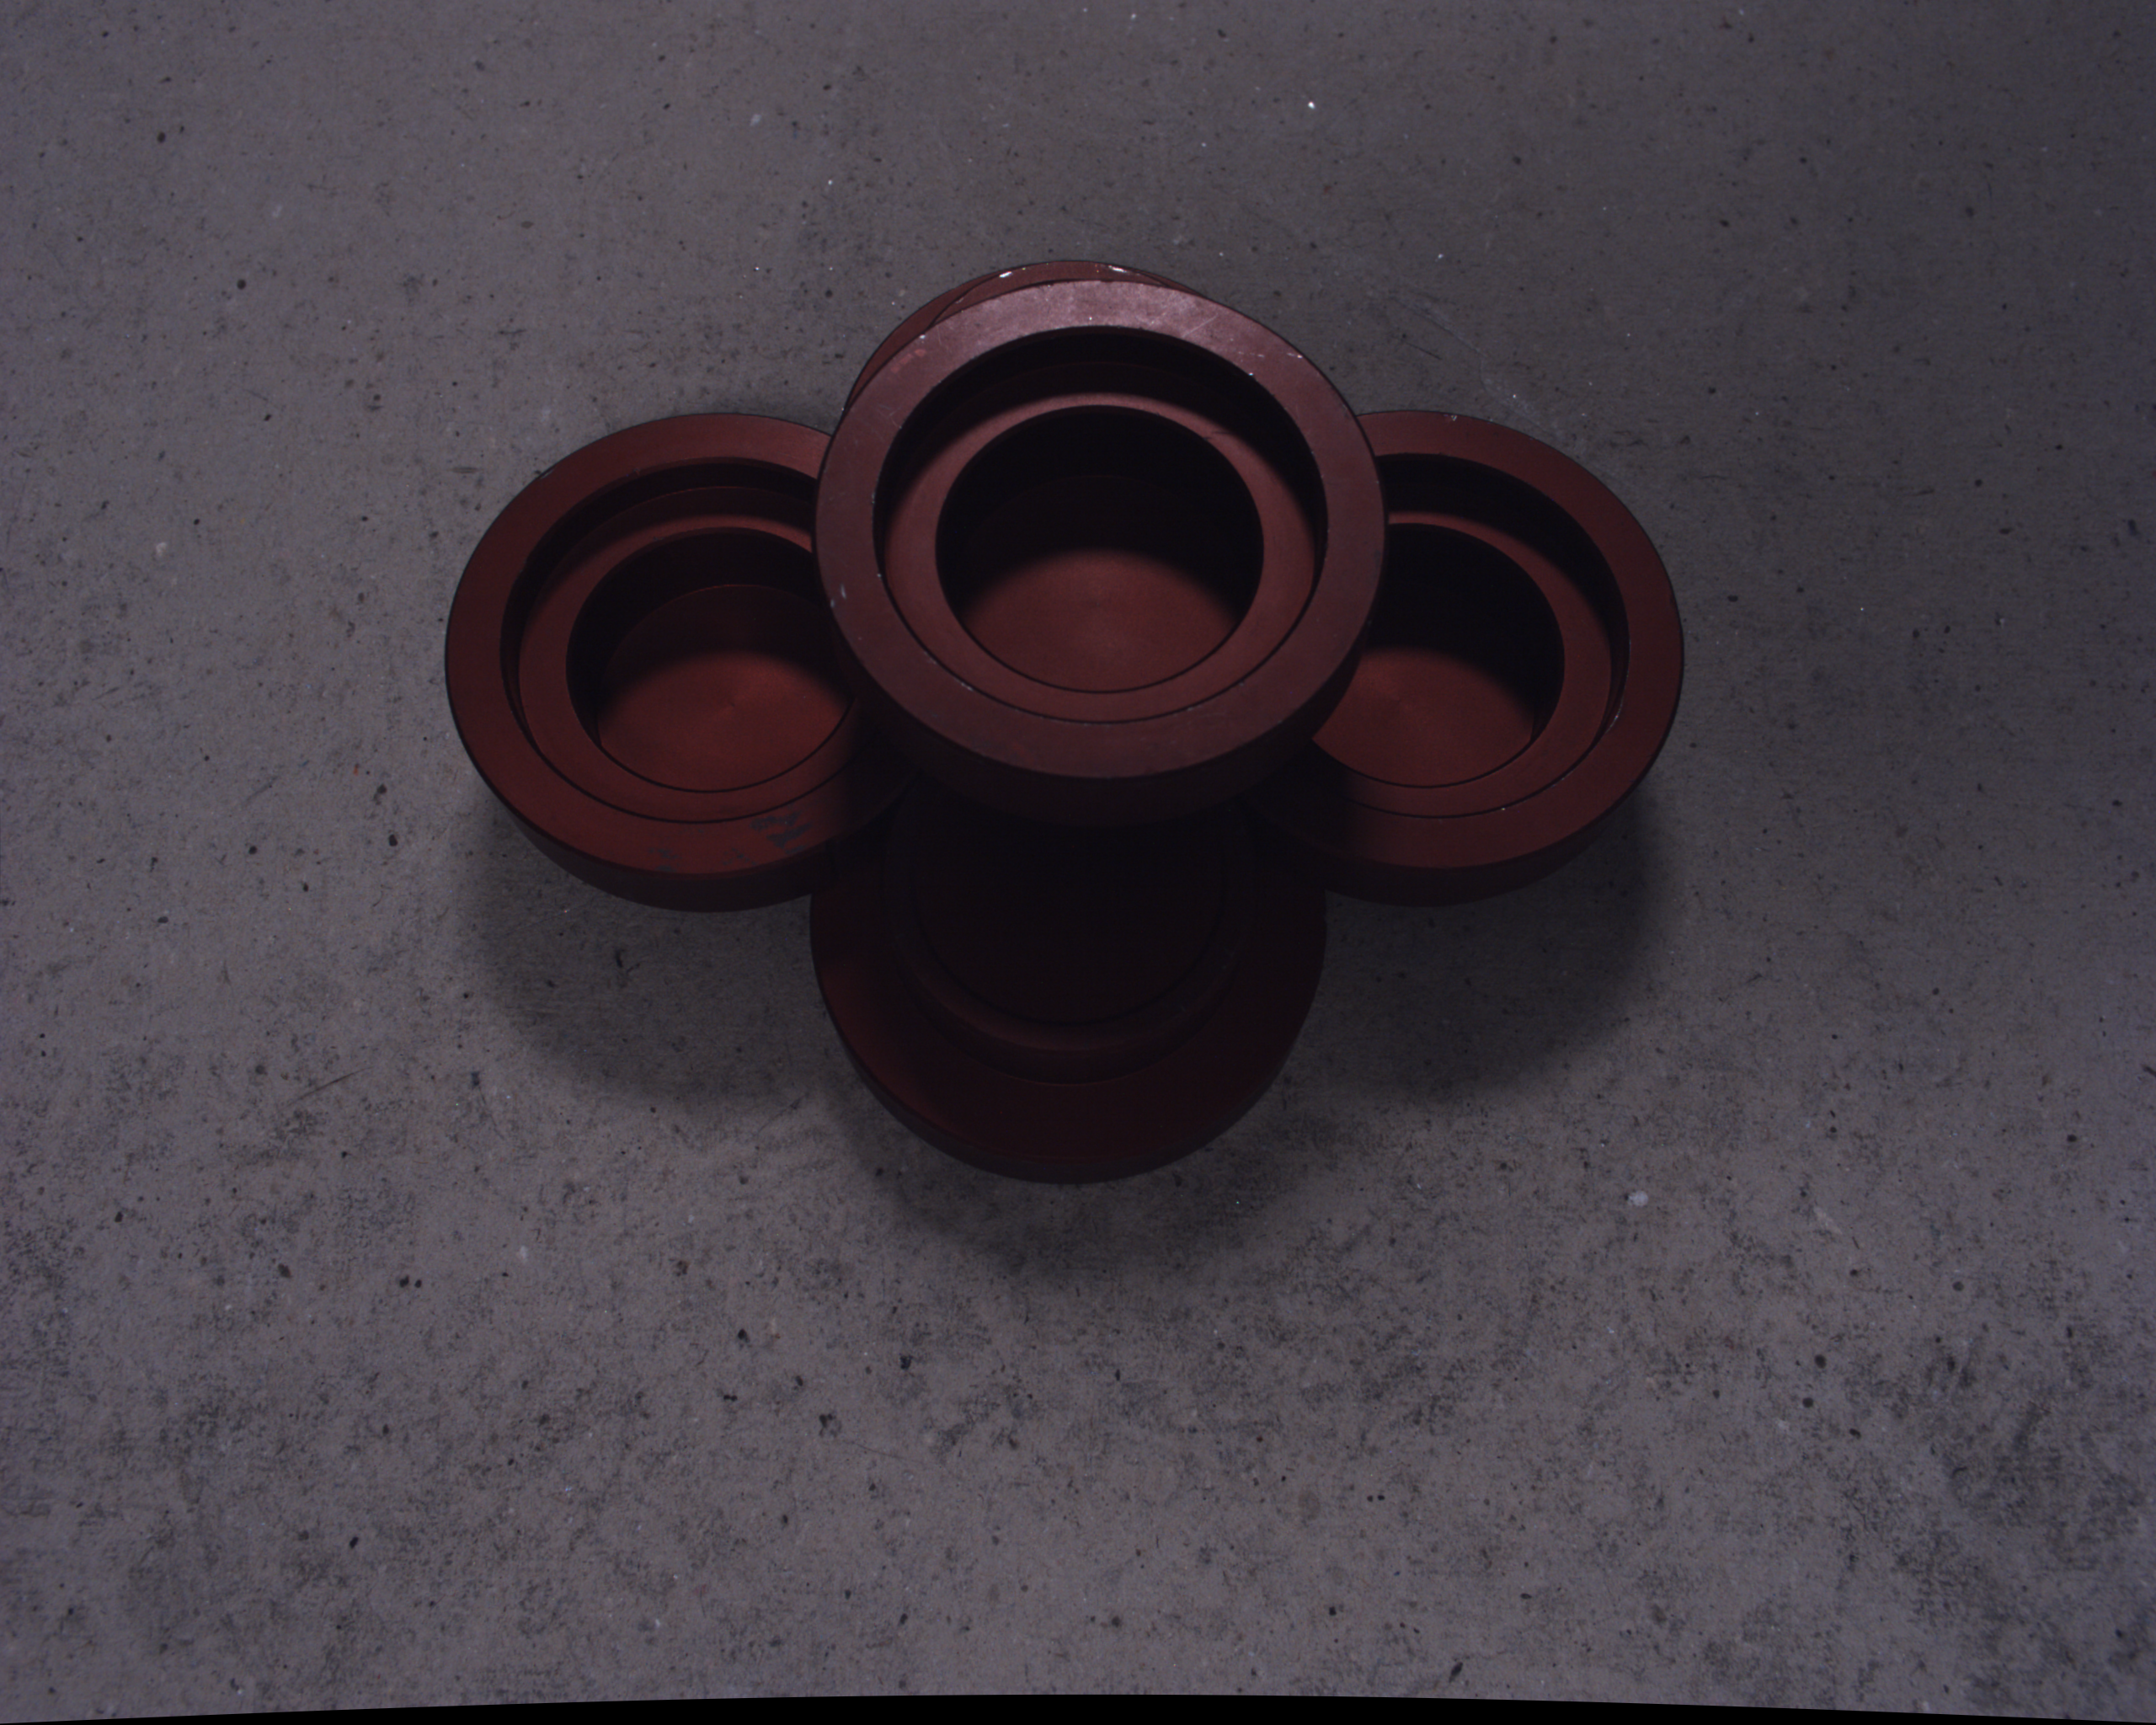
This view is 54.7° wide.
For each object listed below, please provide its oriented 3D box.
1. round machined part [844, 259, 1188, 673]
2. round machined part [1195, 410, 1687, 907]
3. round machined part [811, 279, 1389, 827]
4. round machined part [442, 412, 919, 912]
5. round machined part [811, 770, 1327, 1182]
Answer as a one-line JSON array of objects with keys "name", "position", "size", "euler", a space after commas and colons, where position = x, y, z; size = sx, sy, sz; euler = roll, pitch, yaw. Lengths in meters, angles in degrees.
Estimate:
[{"name": "round machined part", "position": [-0.001, -0.084, 0.431], "size": [0.099, 0.042, 0.098], "euler": [0, 70, -1]}, {"name": "round machined part", "position": [0.066, -0.037, 0.415], "size": [0.099, 0.042, 0.098], "euler": [0, 70, -1]}, {"name": "round machined part", "position": [0.004, -0.052, 0.374], "size": [0.099, 0.042, 0.098], "euler": [0, 70, -1]}, {"name": "round machined part", "position": [-0.070, -0.036, 0.413], "size": [0.099, 0.042, 0.098], "euler": [0, 70, -1]}, {"name": "round machined part", "position": [-0.002, 0.009, 0.397], "size": [0.099, 0.042, 0.098], "euler": [0, 70, -1]}]
